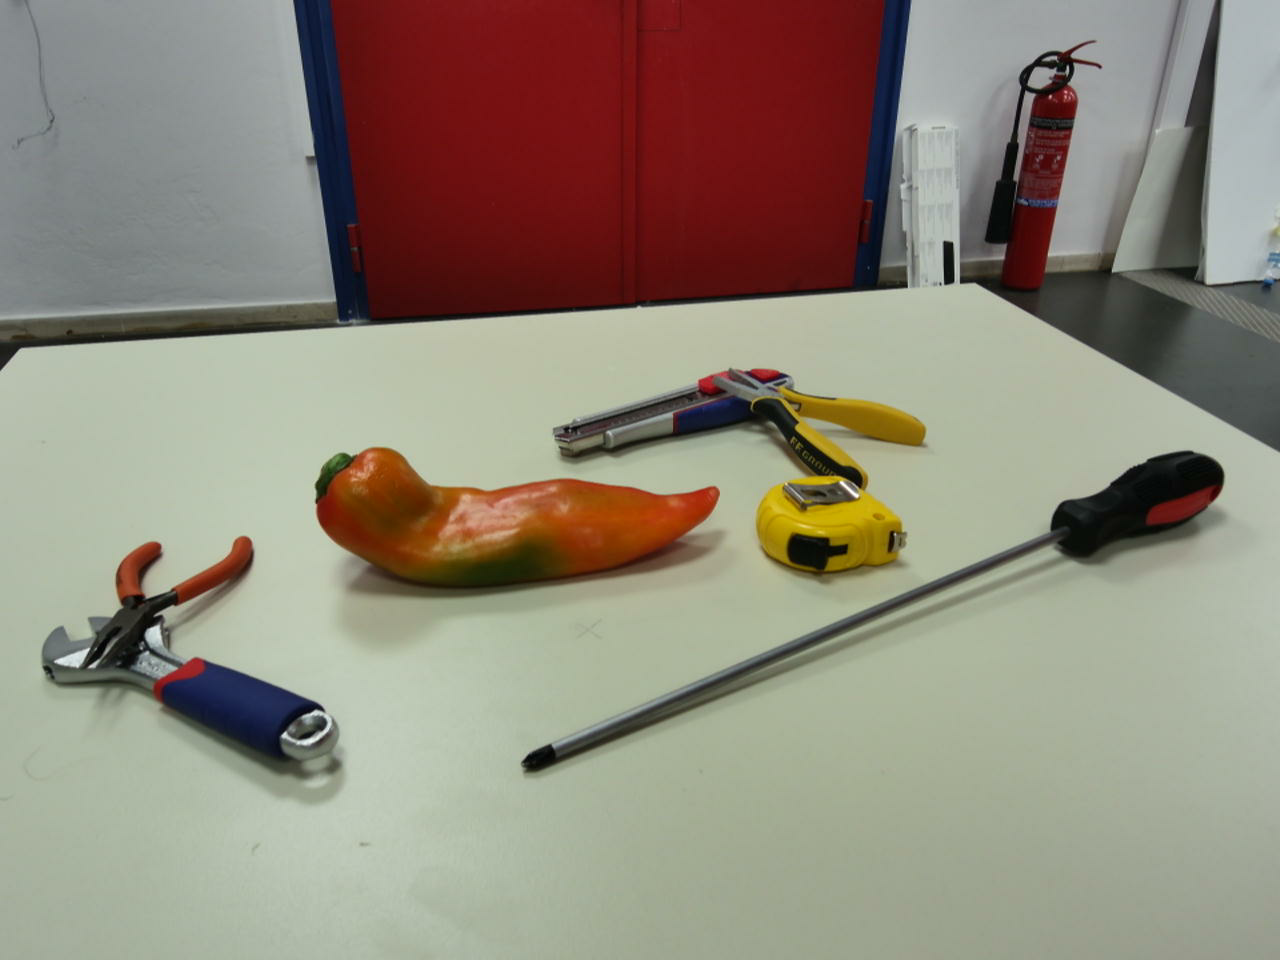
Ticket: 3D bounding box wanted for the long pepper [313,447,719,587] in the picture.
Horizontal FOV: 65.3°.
[{"bbox_3d":[-0.056,0.011,0.491,0.199,0.065,0.066,-4,26,-7],"label":"long pepper"}]
